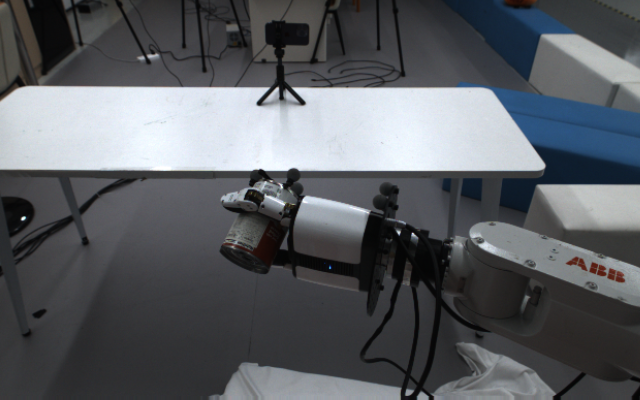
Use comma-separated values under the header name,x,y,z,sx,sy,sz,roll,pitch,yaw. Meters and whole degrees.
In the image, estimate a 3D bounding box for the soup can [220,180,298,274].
name,x,y,z,sx,sy,sz,roll,pitch,yaw
soup can,-0.074,0.032,0.613,0.067,0.067,0.101,15,63,18
